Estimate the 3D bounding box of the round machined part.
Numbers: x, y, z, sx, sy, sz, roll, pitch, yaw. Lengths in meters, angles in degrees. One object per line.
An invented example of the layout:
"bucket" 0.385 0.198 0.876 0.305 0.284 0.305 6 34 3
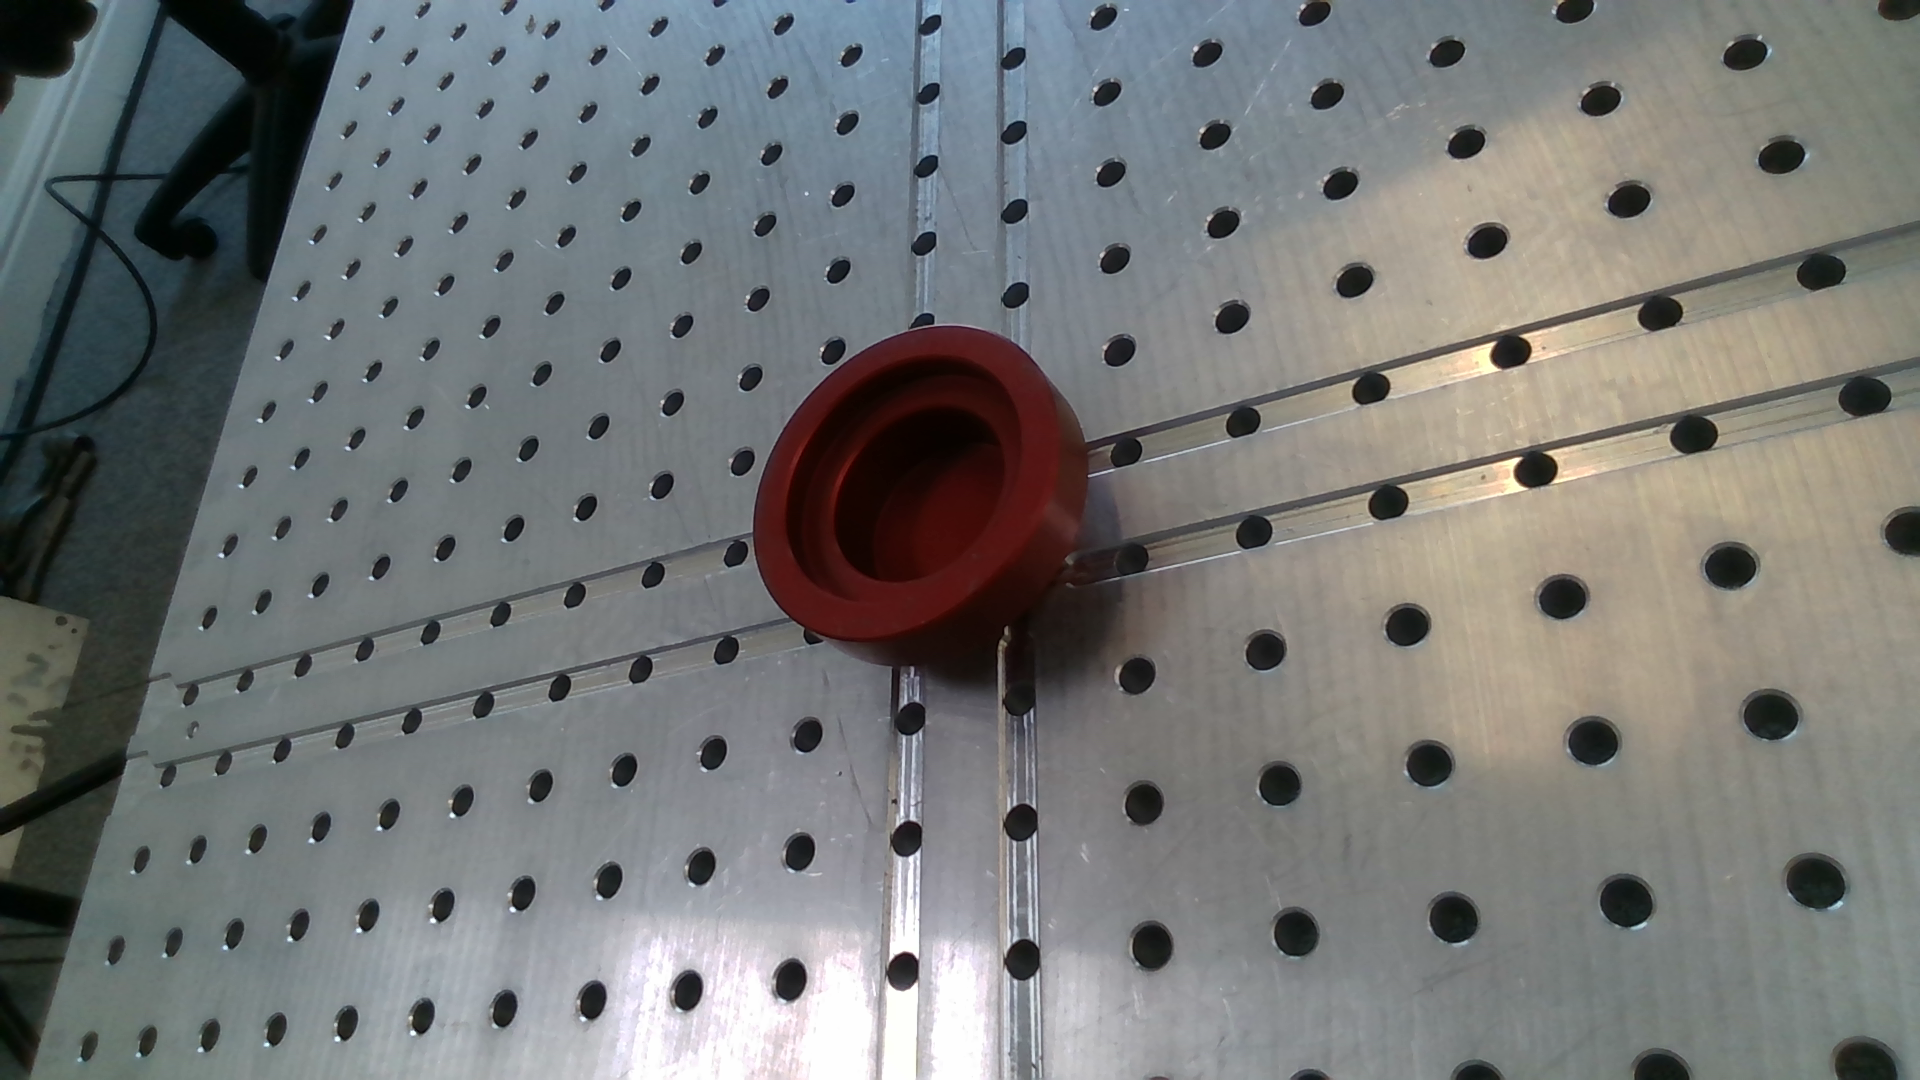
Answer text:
"round machined part" -0.008 -0.010 0.394 0.098 0.042 0.098 -14 59 25
